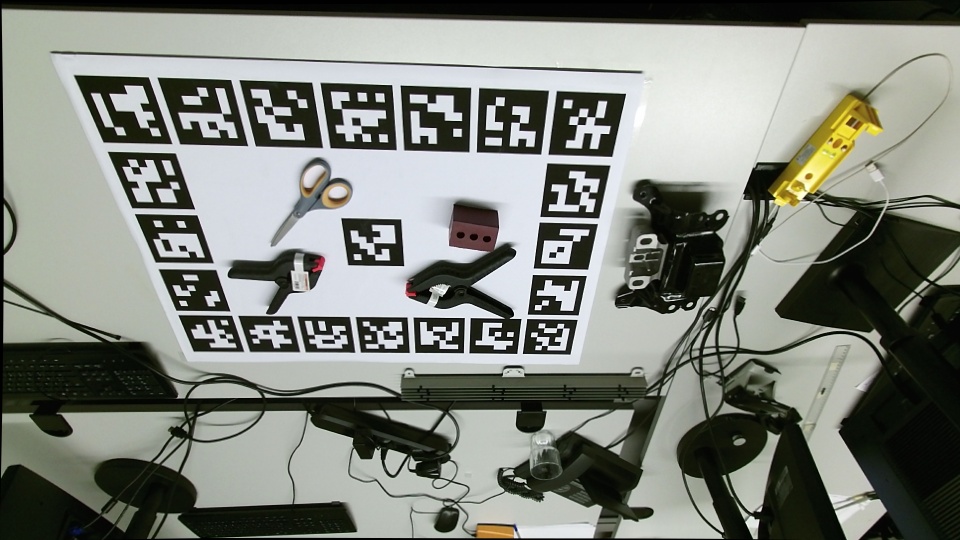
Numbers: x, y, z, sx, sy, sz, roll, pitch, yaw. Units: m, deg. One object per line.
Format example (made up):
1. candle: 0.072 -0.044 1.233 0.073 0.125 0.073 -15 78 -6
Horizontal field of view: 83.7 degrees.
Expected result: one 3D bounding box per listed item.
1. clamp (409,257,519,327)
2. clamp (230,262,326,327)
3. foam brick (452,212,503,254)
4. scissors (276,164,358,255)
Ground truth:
1. clamp: -0.029 0.046 0.998 0.203 0.036 0.165 -2 129 0
2. clamp: -0.356 0.031 0.978 0.165 0.036 0.122 -22 117 12
3. foam brick: -0.005 -0.061 0.915 0.078 0.051 0.053 5 124 -11
4. scissors: -0.286 -0.087 0.899 0.088 0.016 0.203 39 117 -18
